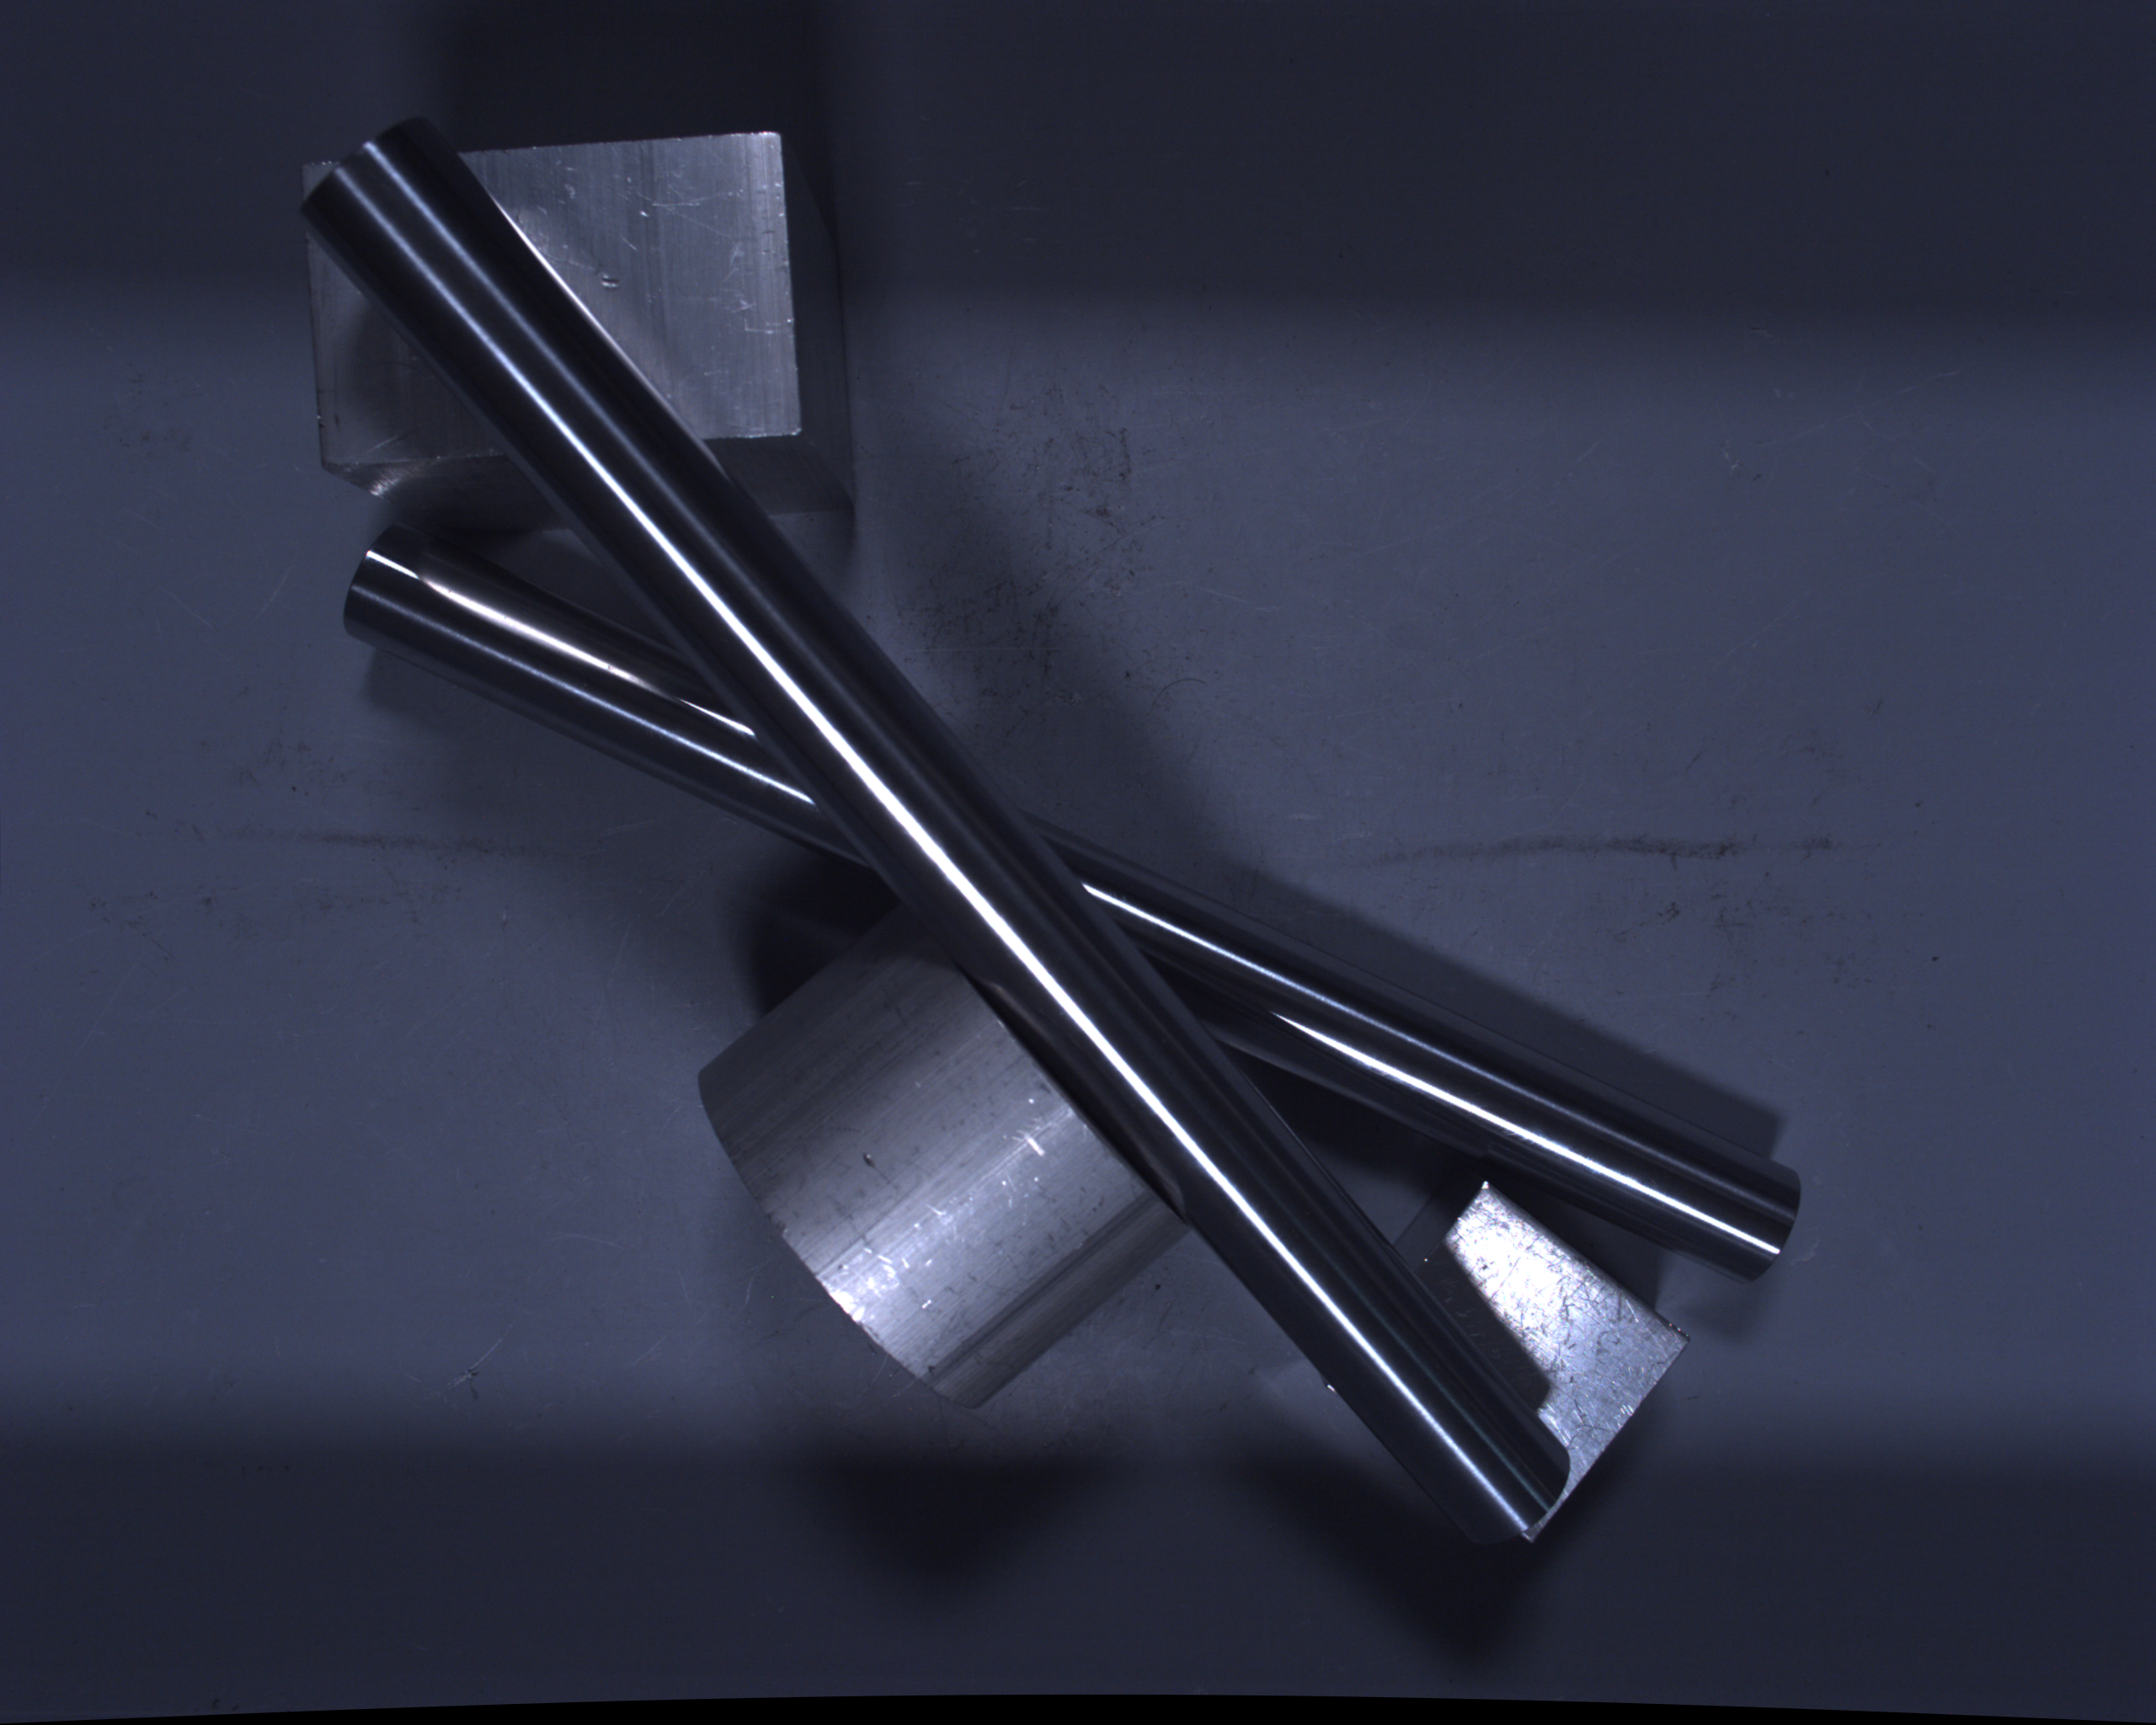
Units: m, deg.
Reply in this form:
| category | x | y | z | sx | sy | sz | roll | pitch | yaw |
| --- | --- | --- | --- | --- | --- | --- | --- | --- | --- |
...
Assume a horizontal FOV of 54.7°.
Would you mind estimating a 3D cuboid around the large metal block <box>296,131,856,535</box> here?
| category | x | y | z | sx | sy | sz | roll | pitch | yaw |
| --- | --- | --- | --- | --- | --- | --- | --- | --- | --- |
| large metal block | -0.087 | -0.093 | 0.382 | 0.081 | 0.080 | 0.050 | -4 | 90 | -1 |

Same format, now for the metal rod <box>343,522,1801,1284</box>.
| category | x | y | z | sx | sy | sz | roll | pitch | yaw |
| --- | --- | --- | --- | --- | --- | --- | --- | --- | --- |
| metal rod | 0.000 | 0.008 | 0.410 | 0.301 | 0.025 | 0.025 | 25 | 90 | -1 |

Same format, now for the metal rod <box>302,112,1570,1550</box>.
| category | x | y | z | sx | sy | sz | roll | pitch | yaw |
| --- | --- | --- | --- | --- | --- | --- | --- | --- | --- |
| metal rod | -0.014 | 0.005 | 0.352 | 0.025 | 0.025 | 0.300 | -40 | 103 | 0 |

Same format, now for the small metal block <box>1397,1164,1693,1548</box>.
| category | x | y | z | sx | sy | sz | roll | pitch | yaw |
| --- | --- | --- | --- | --- | --- | --- | --- | --- | --- |
| small metal block | 0.082 | 0.096 | 0.411 | 0.050 | 0.025 | 0.050 | 38 | 90 | -1 |

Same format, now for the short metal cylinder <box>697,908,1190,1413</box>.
| category | x | y | z | sx | sy | sz | roll | pitch | yaw |
| --- | --- | --- | --- | --- | --- | --- | --- | --- | --- |
| short metal cylinder | -0.023 | 0.052 | 0.381 | 0.050 | 0.080 | 0.080 | -40 | 91 | 0 |
